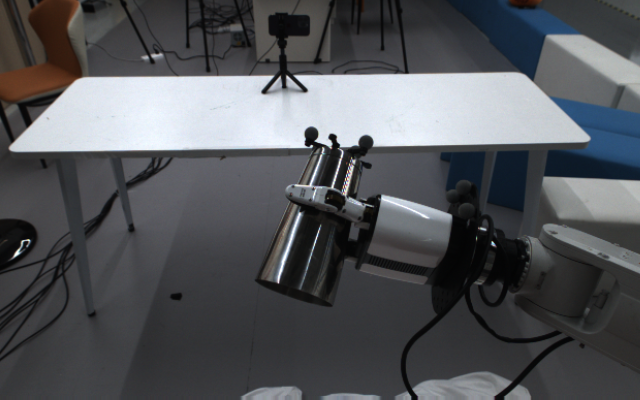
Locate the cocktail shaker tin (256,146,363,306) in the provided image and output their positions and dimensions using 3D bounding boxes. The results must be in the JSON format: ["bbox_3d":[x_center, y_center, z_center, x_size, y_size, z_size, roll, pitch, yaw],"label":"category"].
[{"bbox_3d":[-0.005,0.027,0.561,0.093,0.093,0.170,13,70,15],"label":"cocktail shaker tin"}]
